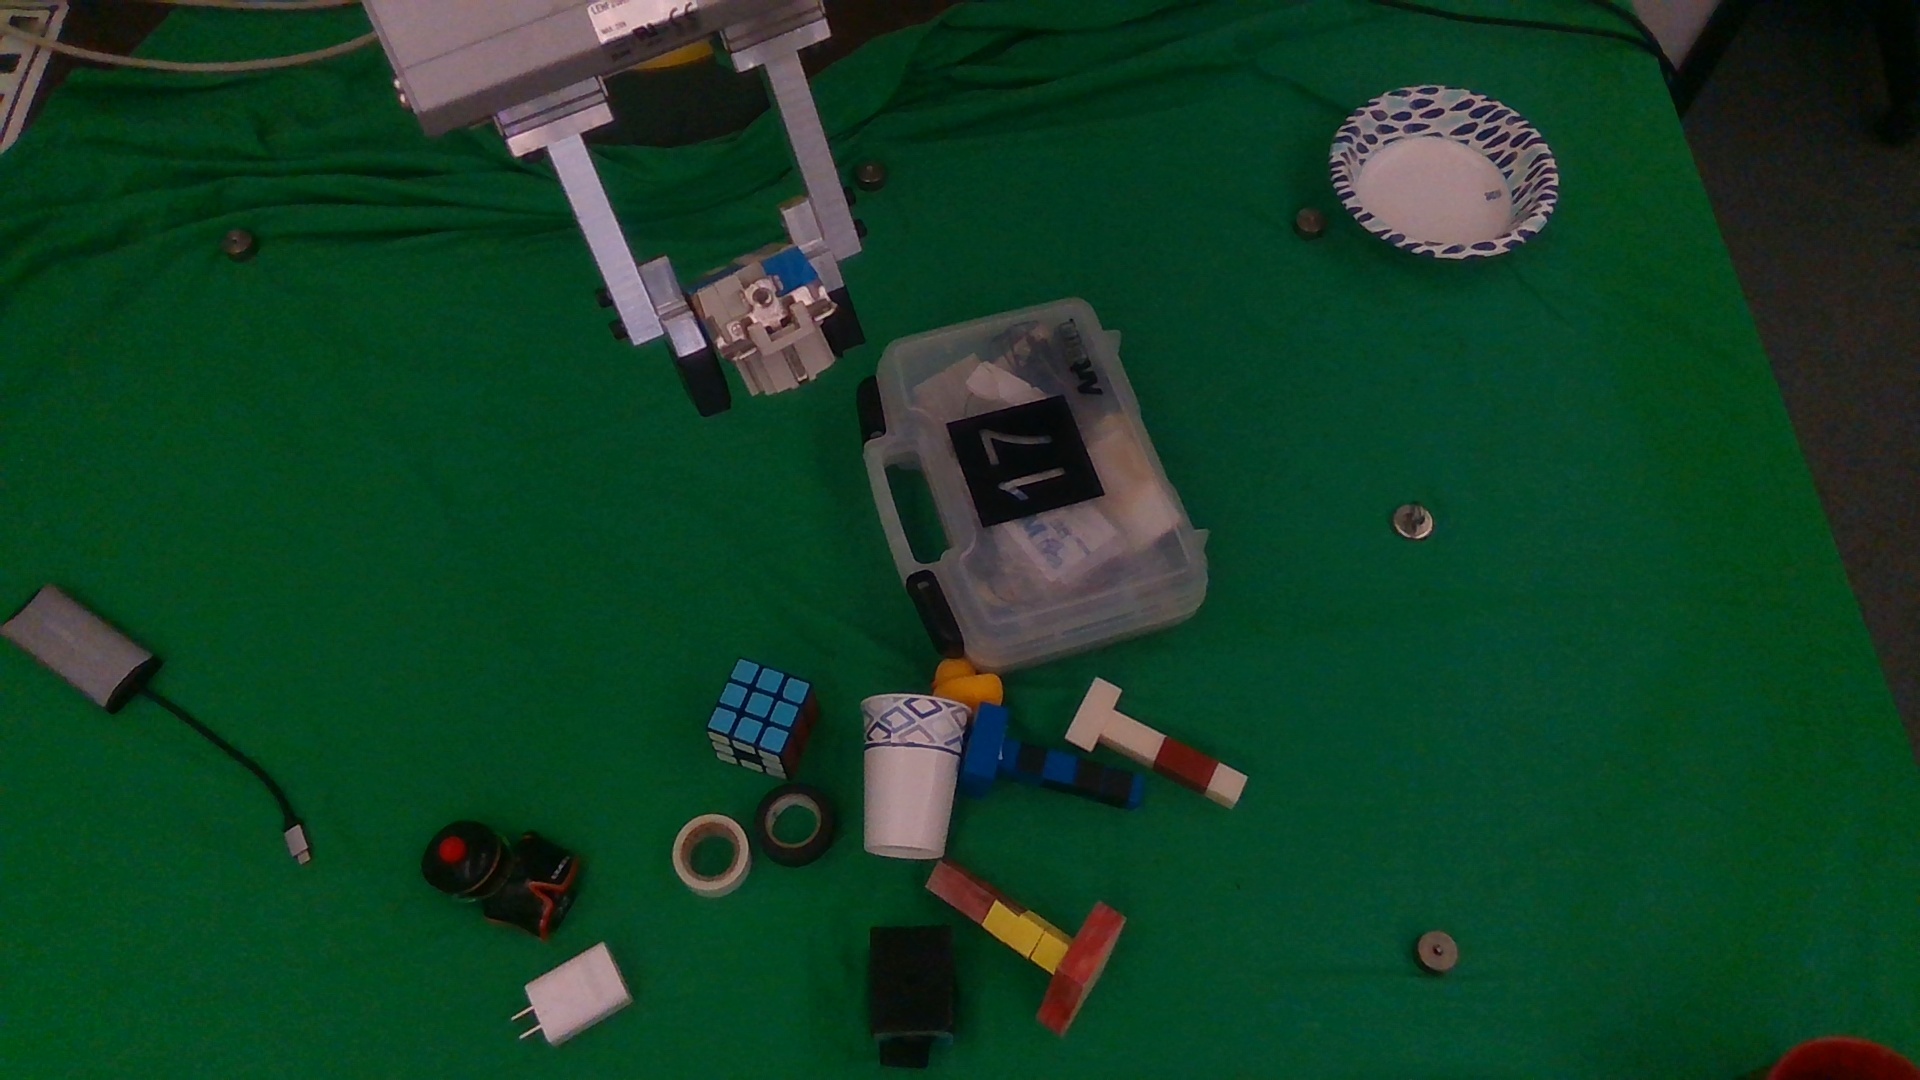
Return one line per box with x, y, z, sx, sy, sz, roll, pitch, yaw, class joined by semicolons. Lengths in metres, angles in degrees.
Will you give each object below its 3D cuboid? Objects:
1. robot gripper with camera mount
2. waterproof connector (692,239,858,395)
-0.103;-0.139;0.435;0.119;0.158;0.194;-25;28;-14;robot gripper with camera mount
-0.053;-0.063;0.398;0.035;0.065;0.037;-29;110;-13;waterproof connector
